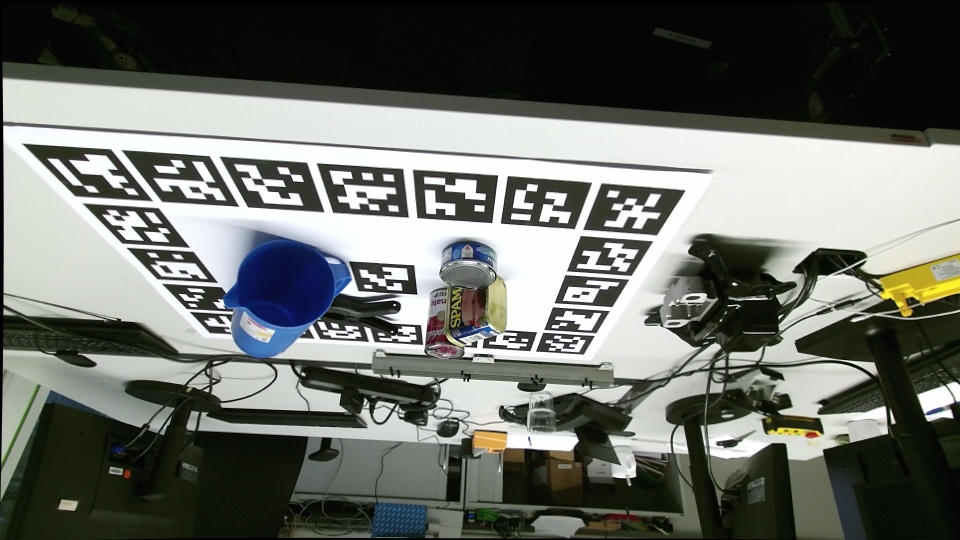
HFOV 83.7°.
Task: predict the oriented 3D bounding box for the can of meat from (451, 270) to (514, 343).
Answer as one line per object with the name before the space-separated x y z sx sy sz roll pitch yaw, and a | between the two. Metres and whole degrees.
can of meat | 0.005 0.055 0.853 0.084 0.101 0.058 -21 140 26

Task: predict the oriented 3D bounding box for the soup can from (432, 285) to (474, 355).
soup can | -0.045 0.085 0.912 0.068 0.101 0.068 -1 146 0

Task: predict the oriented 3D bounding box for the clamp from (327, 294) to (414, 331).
clamp | -0.204 0.072 0.979 0.166 0.036 0.122 7 152 -1

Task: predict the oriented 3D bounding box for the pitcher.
pitcher | -0.313 0.058 0.850 0.189 0.132 0.243 -6 162 -30

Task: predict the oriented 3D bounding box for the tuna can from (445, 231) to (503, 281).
tuna can | -0.008 -0.020 0.803 0.086 0.033 0.086 2 146 1
